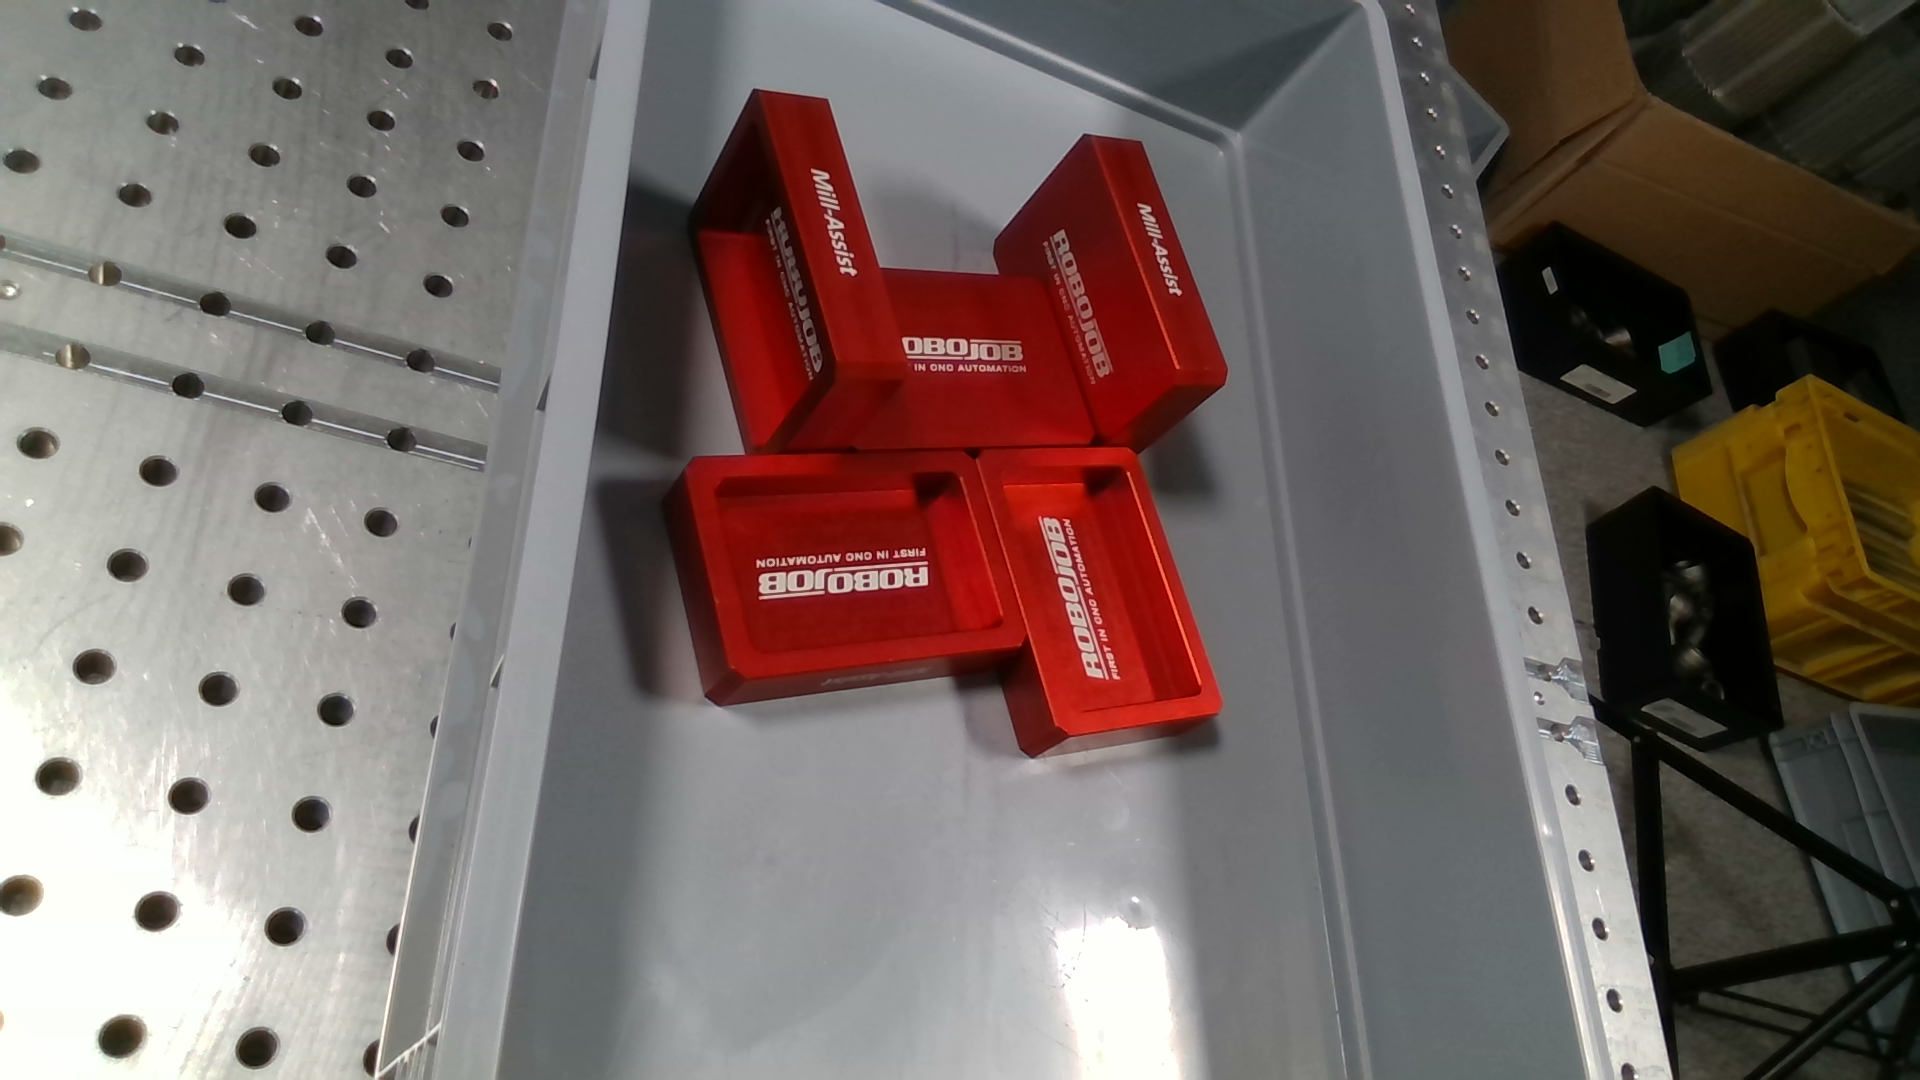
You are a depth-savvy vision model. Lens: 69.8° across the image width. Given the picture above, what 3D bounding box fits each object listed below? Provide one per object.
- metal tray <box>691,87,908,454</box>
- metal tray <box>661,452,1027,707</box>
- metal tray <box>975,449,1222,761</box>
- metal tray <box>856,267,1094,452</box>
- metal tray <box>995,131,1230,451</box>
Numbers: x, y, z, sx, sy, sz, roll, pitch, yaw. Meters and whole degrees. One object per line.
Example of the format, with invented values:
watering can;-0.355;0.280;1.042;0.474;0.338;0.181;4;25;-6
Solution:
metal tray;-0.069;-0.101;0.553;0.030;0.090;0.130;-4;67;-33
metal tray;-0.044;0.012;0.547;0.130;0.030;0.090;-3;67;-33
metal tray;0.053;0.025;0.601;0.090;0.030;0.130;-3;67;-33
metal tray;-0.011;-0.075;0.614;0.130;0.030;0.090;-3;67;-33
metal tray;0.067;-0.110;0.640;0.030;0.090;0.130;-4;68;-33
